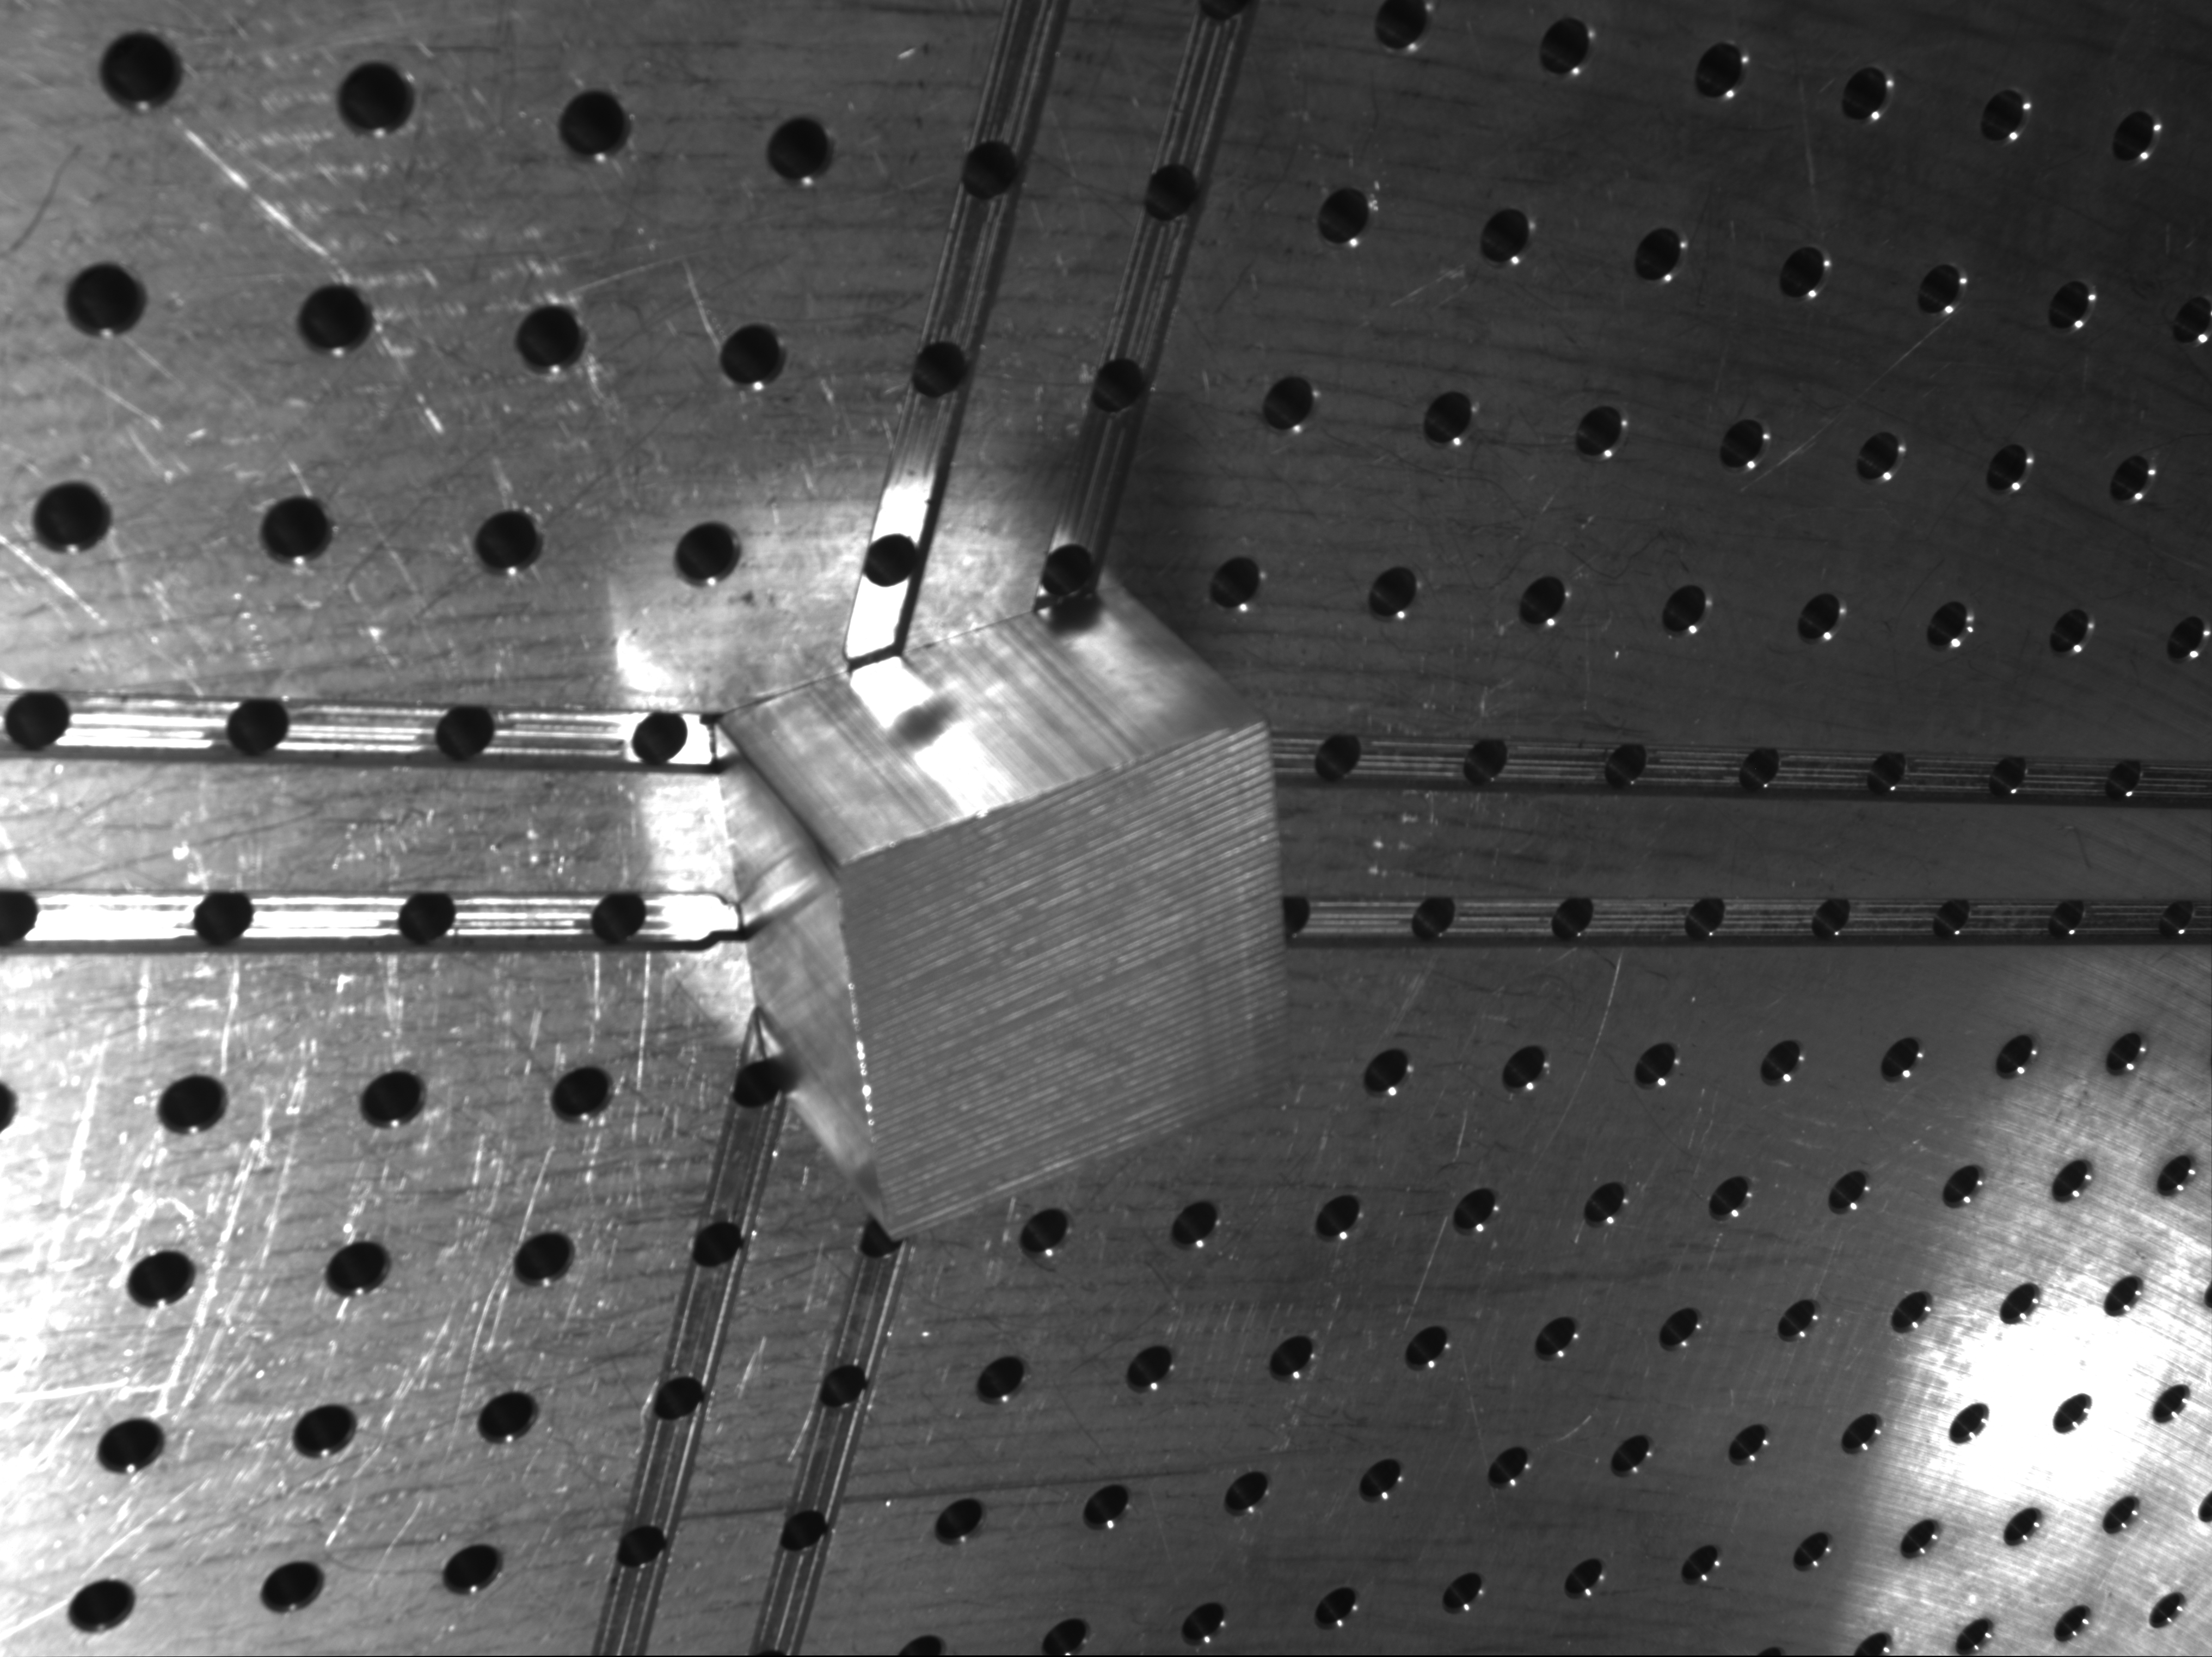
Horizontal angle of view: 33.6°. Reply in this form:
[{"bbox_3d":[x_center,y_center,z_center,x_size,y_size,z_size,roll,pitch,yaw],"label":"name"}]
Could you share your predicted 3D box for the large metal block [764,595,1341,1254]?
[{"bbox_3d":[-0.008,0.016,0.639,0.080,0.050,0.080,-19,126,-19],"label":"large metal block"}]
